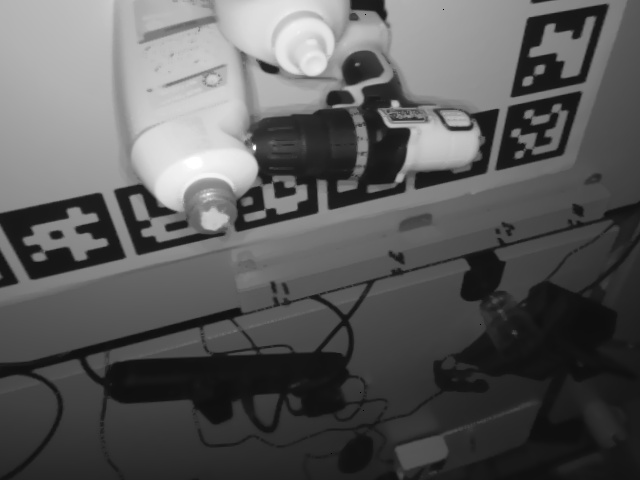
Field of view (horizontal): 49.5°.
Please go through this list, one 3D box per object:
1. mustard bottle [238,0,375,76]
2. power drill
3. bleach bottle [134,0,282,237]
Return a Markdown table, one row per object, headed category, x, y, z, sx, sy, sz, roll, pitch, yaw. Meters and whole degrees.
| category | x | y | z | sx | sy | sz | roll | pitch | yaw |
| --- | --- | --- | --- | --- | --- | --- | --- | --- | --- |
| mustard bottle | -0.013 | -0.175 | 0.504 | 0.097 | 0.192 | 0.058 | -10 | 136 | -12 |
| power drill | 0.031 | -0.119 | 0.548 | 0.187 | 0.187 | 0.056 | -1 | 134 | -20 |
| bleach bottle | -0.075 | -0.104 | 0.512 | 0.103 | 0.251 | 0.067 | -9 | 141 | -14 |
